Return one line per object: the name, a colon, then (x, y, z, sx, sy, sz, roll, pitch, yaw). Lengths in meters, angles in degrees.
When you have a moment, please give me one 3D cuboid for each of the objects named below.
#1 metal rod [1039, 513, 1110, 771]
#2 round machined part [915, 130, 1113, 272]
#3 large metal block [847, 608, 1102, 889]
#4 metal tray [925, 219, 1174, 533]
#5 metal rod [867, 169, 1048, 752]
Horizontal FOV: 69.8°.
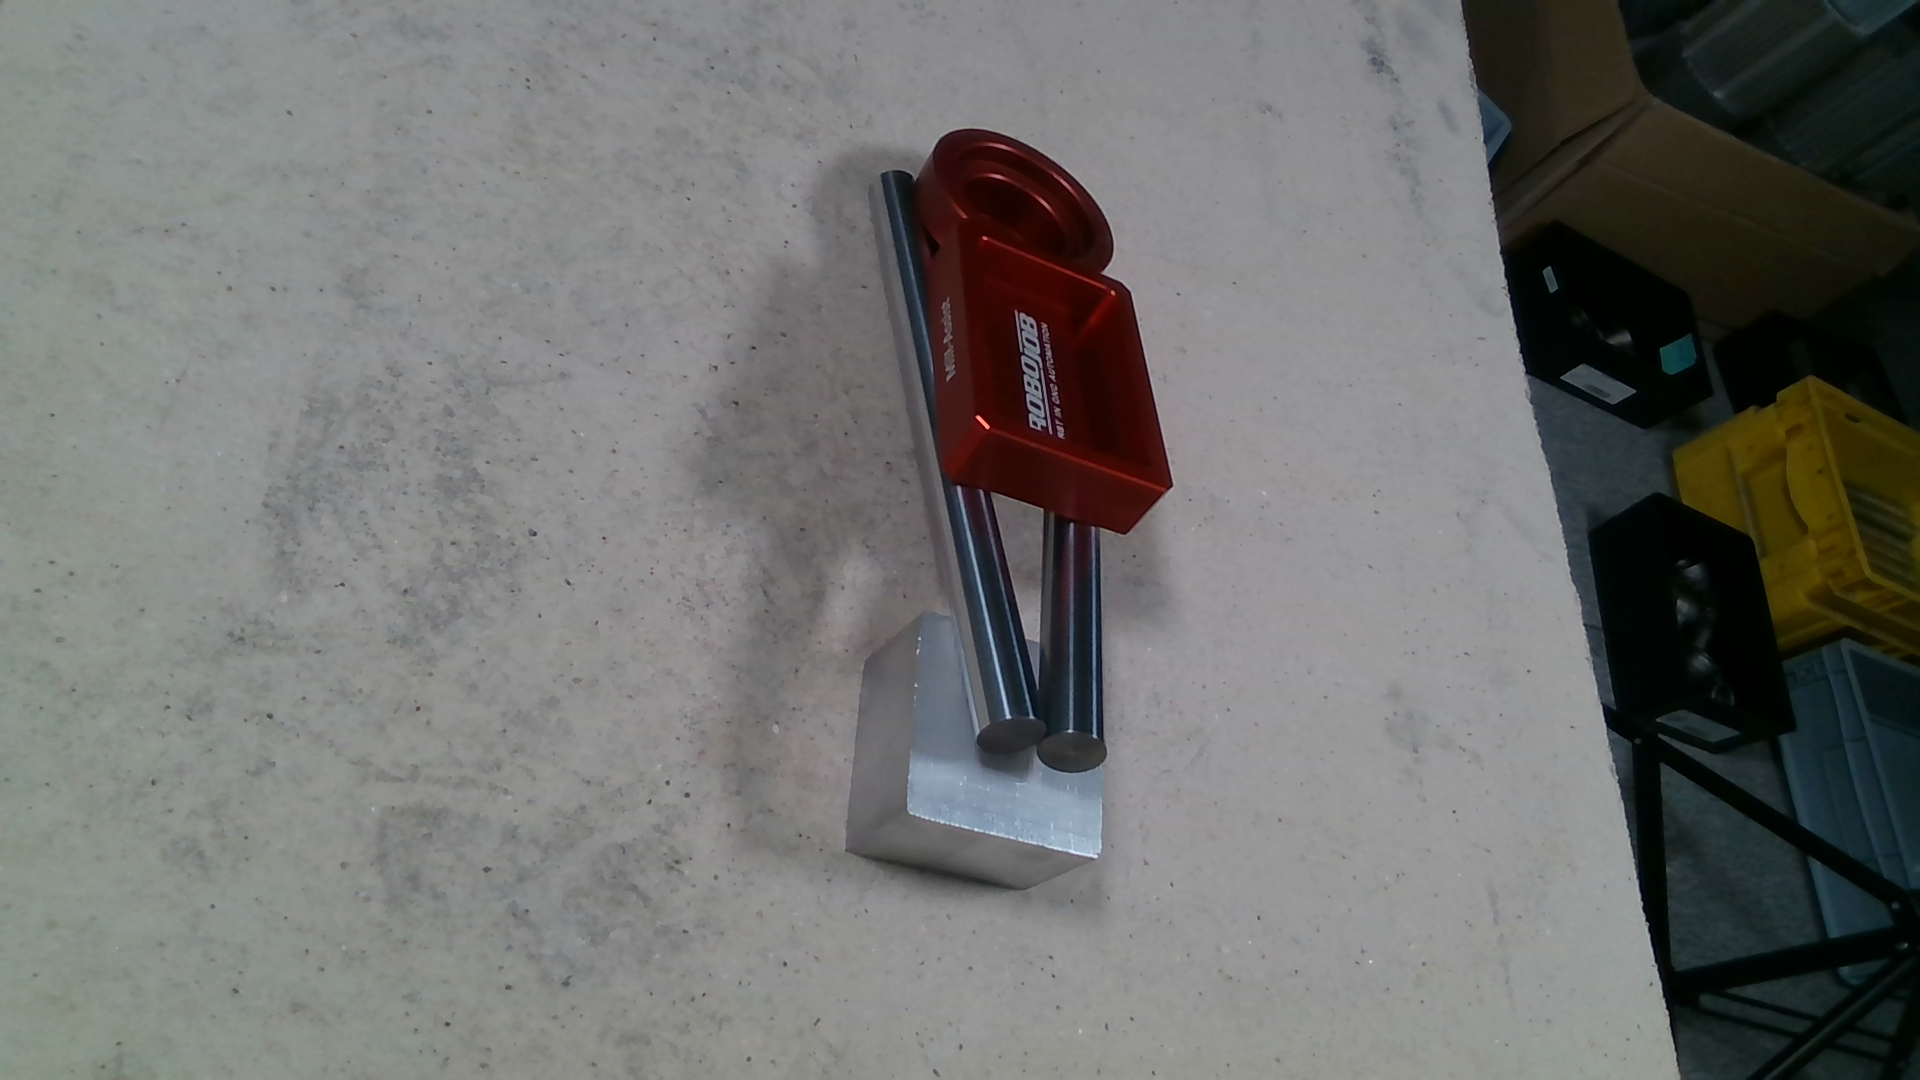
metal rod: (0.049, -0.032, 0.591, 0.025, 0.025, 0.299, 24, 42, -19)
round machined part: (0.021, -0.147, 0.660, 0.098, 0.042, 0.098, 19, 46, -21)
large metal block: (0.007, 0.082, 0.529, 0.080, 0.050, 0.080, 18, 57, -23)
metal tray: (0.035, -0.071, 0.575, 0.090, 0.030, 0.130, 17, 45, -23)
metal rod: (-0.007, -0.050, 0.567, 0.025, 0.025, 0.299, 10, 48, -27)
